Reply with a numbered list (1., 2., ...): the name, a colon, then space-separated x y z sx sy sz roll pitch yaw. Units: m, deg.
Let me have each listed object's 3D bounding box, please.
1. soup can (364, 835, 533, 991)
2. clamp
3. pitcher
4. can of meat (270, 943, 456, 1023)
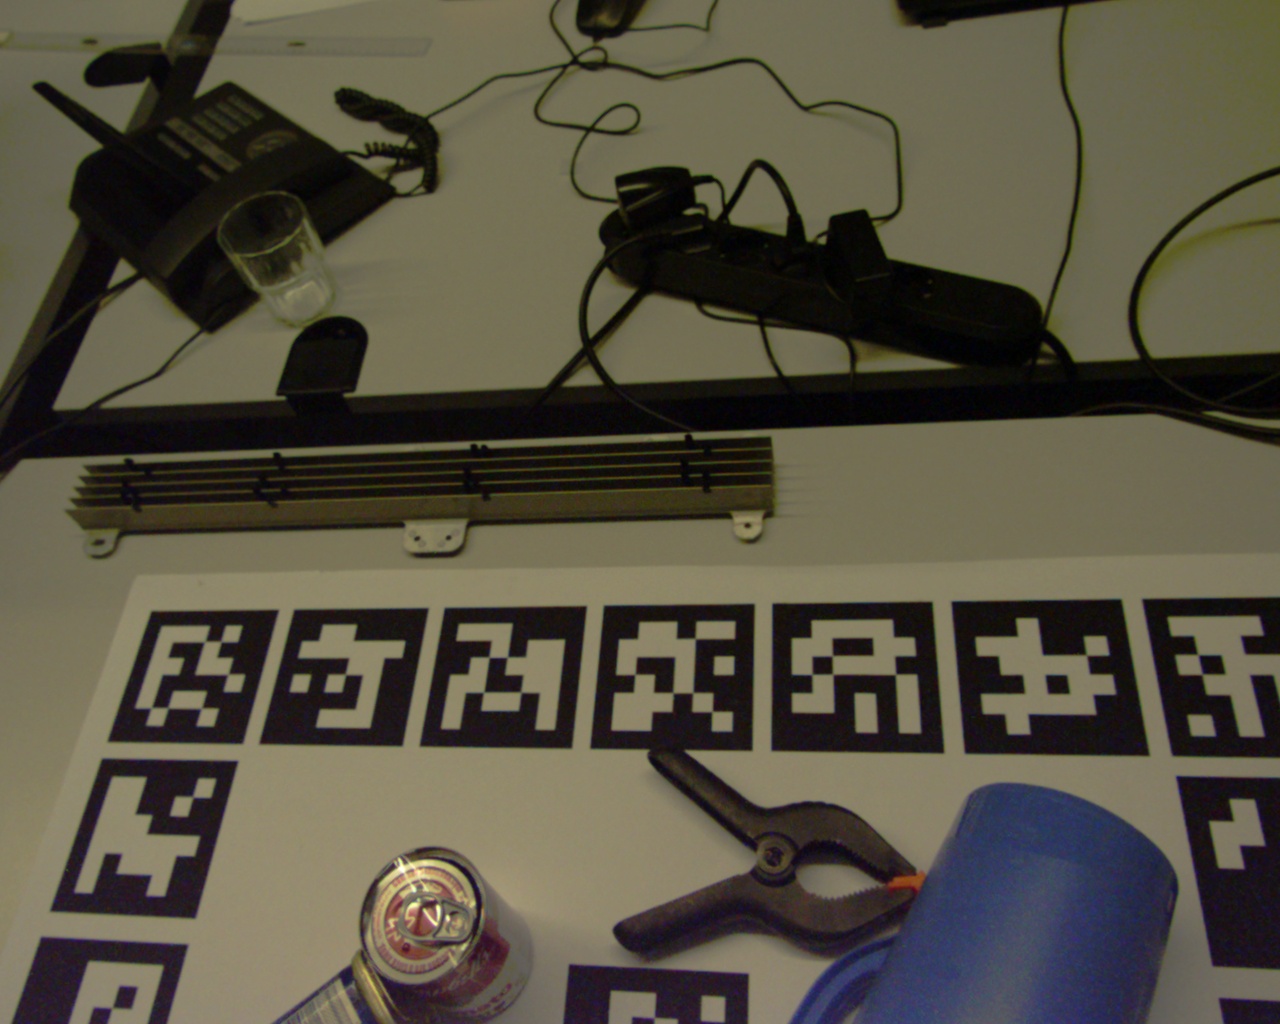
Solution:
1. soup can: -0.108 0.235 0.660 0.068 0.101 0.068 -7 58 10
2. clamp: 0.056 0.199 0.696 0.166 0.036 0.122 0 53 9
3. pitcher: 0.153 0.254 0.565 0.191 0.132 0.241 2 48 39
4. can of meat: -0.157 0.293 0.627 0.083 0.101 0.058 -35 58 -7
